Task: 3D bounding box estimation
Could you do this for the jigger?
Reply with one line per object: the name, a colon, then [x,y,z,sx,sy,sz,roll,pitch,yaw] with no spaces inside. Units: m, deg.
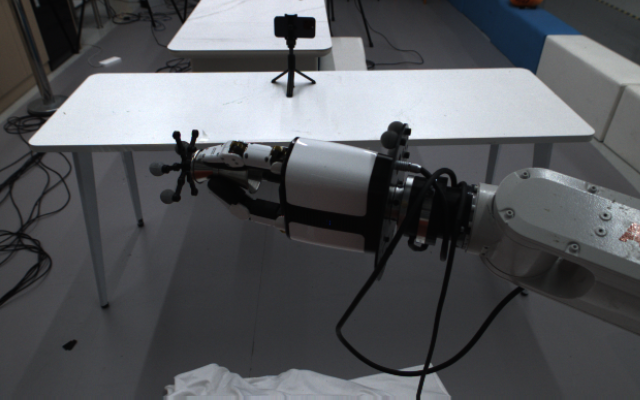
jigger: [-0.096,-0.038,0.534,0.071,0.043,0.043,8,35,14]
